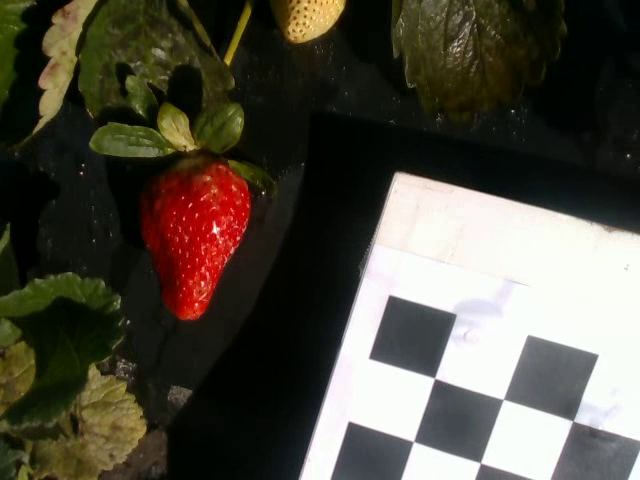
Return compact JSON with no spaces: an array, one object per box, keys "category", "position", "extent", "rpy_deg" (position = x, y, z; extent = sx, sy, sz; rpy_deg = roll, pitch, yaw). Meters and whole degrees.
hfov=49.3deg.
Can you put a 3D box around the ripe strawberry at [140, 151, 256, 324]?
[{"category":"ripe strawberry","position":[-0.046,0.000,0.249],"extent":[0.048,0.069,0.040],"rpy_deg":[-1,1,10]}]
